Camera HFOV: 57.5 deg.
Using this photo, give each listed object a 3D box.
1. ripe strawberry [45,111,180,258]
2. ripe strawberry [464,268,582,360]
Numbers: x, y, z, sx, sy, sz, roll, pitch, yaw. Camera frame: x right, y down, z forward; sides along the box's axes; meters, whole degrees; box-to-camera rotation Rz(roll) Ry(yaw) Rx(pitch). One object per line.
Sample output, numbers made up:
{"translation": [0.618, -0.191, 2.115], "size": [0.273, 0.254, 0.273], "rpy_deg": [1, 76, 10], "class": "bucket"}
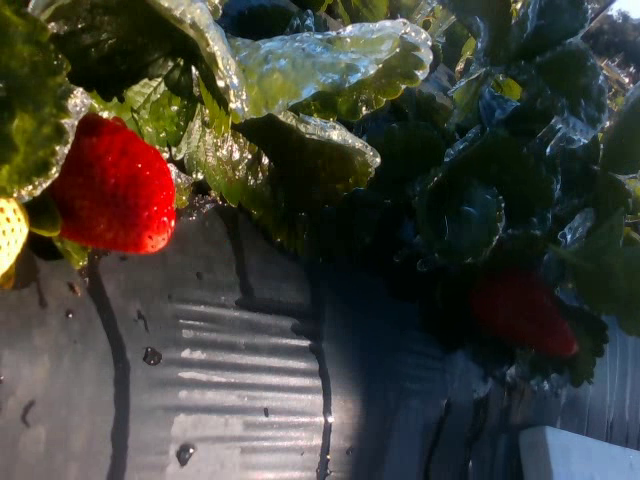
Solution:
{"translation": [-0.054, -0.011, 0.151], "size": [0.037, 0.040, 0.051], "rpy_deg": [7, 17, -40], "class": "ripe strawberry"}
{"translation": [0.098, 0.036, 0.267], "size": [0.041, 0.047, 0.053], "rpy_deg": [17, 21, -37], "class": "ripe strawberry"}
